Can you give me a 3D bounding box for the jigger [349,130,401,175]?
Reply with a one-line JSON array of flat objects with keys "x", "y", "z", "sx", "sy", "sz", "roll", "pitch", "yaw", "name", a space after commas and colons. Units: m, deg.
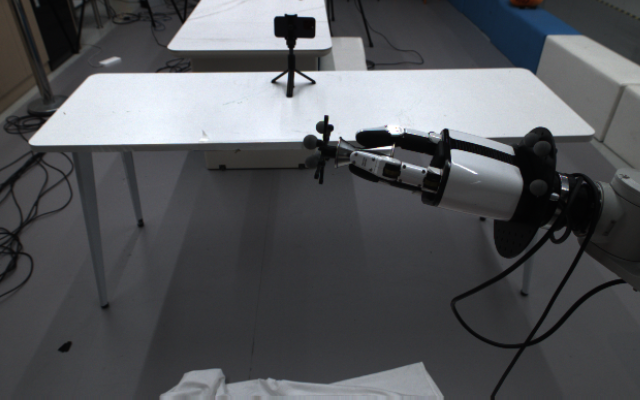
[{"x": 0.062, "y": -0.058, "z": 0.595, "sx": 0.071, "sy": 0.043, "sz": 0.043, "roll": 8, "pitch": 35, "yaw": 8, "name": "jigger"}]
